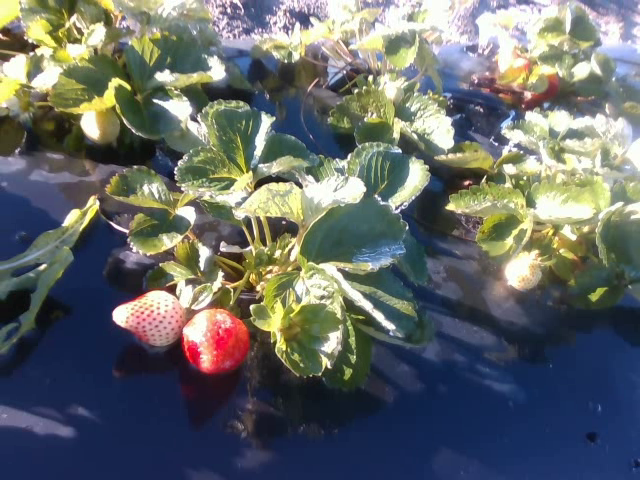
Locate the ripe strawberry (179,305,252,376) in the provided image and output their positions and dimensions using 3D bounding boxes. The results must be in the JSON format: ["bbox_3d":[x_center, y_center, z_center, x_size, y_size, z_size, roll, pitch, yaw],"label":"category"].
[{"bbox_3d":[-0.055,0.056,0.328,0.040,0.038,0.055,-16,1,3],"label":"ripe strawberry"}]
